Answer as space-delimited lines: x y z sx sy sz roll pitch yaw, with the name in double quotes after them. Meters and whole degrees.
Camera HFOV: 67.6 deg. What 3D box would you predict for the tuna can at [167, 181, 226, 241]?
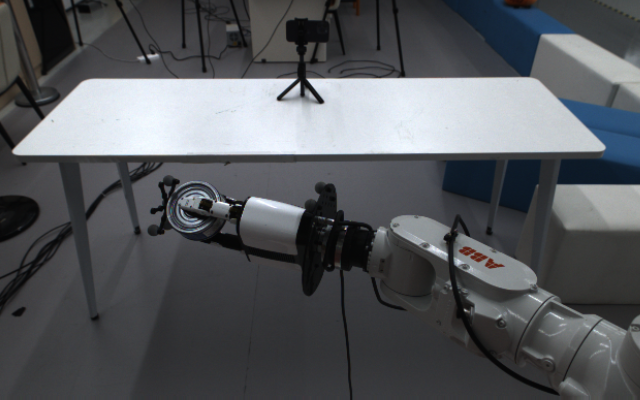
-0.180 0.019 0.714 0.085 0.034 0.085 -2 70 6 "tuna can"
